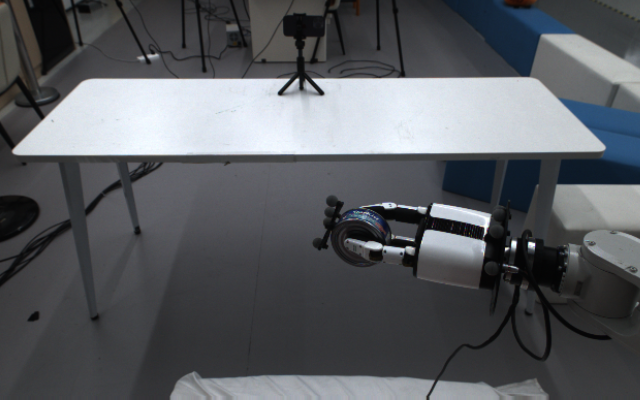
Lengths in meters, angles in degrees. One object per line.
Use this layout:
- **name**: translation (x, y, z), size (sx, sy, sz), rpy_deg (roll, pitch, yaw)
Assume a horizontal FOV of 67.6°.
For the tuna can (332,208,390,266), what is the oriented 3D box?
- **tuna can**: translation (0.062, 0.055, 0.713), size (0.085, 0.085, 0.034), rpy_deg (12, 30, 14)
